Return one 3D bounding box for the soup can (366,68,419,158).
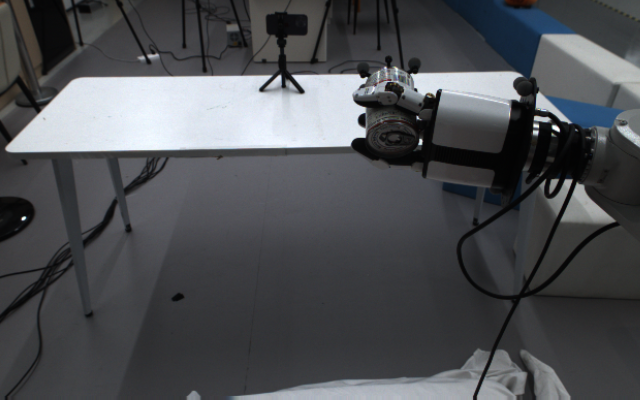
[{"bbox_3d":[0.093,-0.115,0.630,0.067,0.067,0.101,3,57,1],"label":"soup can"}]
